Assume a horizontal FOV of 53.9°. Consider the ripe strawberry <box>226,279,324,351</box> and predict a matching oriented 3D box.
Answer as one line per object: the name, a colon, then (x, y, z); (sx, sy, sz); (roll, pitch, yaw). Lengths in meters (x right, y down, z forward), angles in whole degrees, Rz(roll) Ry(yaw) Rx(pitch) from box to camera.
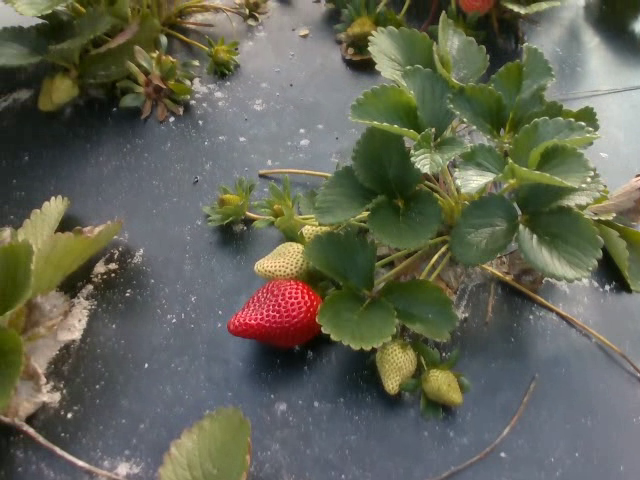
ripe strawberry: (-0.033, 0.043, 0.362); (0.055, 0.048, 0.051); (-7, 7, -35)
